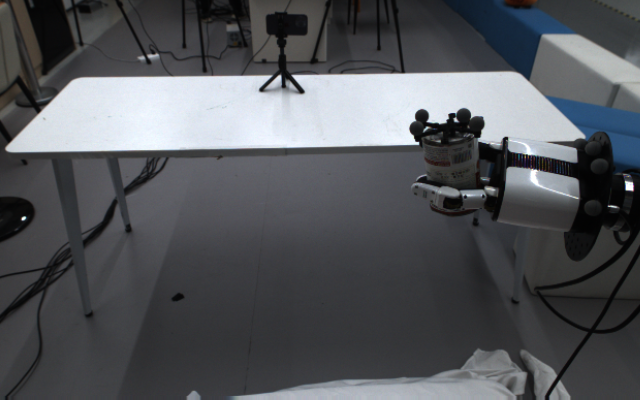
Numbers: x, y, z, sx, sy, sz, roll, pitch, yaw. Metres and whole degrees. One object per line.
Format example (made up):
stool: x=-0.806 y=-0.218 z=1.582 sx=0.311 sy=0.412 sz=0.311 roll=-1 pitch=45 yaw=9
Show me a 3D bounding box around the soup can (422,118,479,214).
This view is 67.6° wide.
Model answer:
soup can: x=0.170 y=-0.040 z=0.612 sx=0.067 sy=0.101 sz=0.067 roll=-11 pitch=27 yaw=6
